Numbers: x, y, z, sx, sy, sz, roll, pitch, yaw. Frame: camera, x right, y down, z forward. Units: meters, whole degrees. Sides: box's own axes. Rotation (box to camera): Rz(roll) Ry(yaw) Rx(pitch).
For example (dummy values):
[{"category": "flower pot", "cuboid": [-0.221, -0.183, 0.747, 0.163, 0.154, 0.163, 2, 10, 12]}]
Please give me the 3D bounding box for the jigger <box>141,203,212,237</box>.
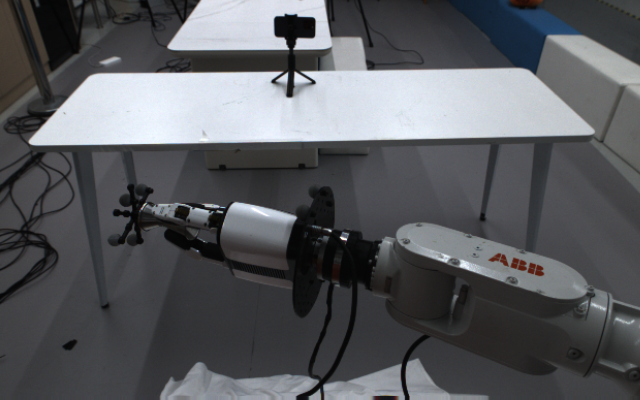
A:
[{"category": "jigger", "cuboid": [-0.189, 0.023, 0.628, 0.071, 0.043, 0.043, 7, 35, 13]}]
